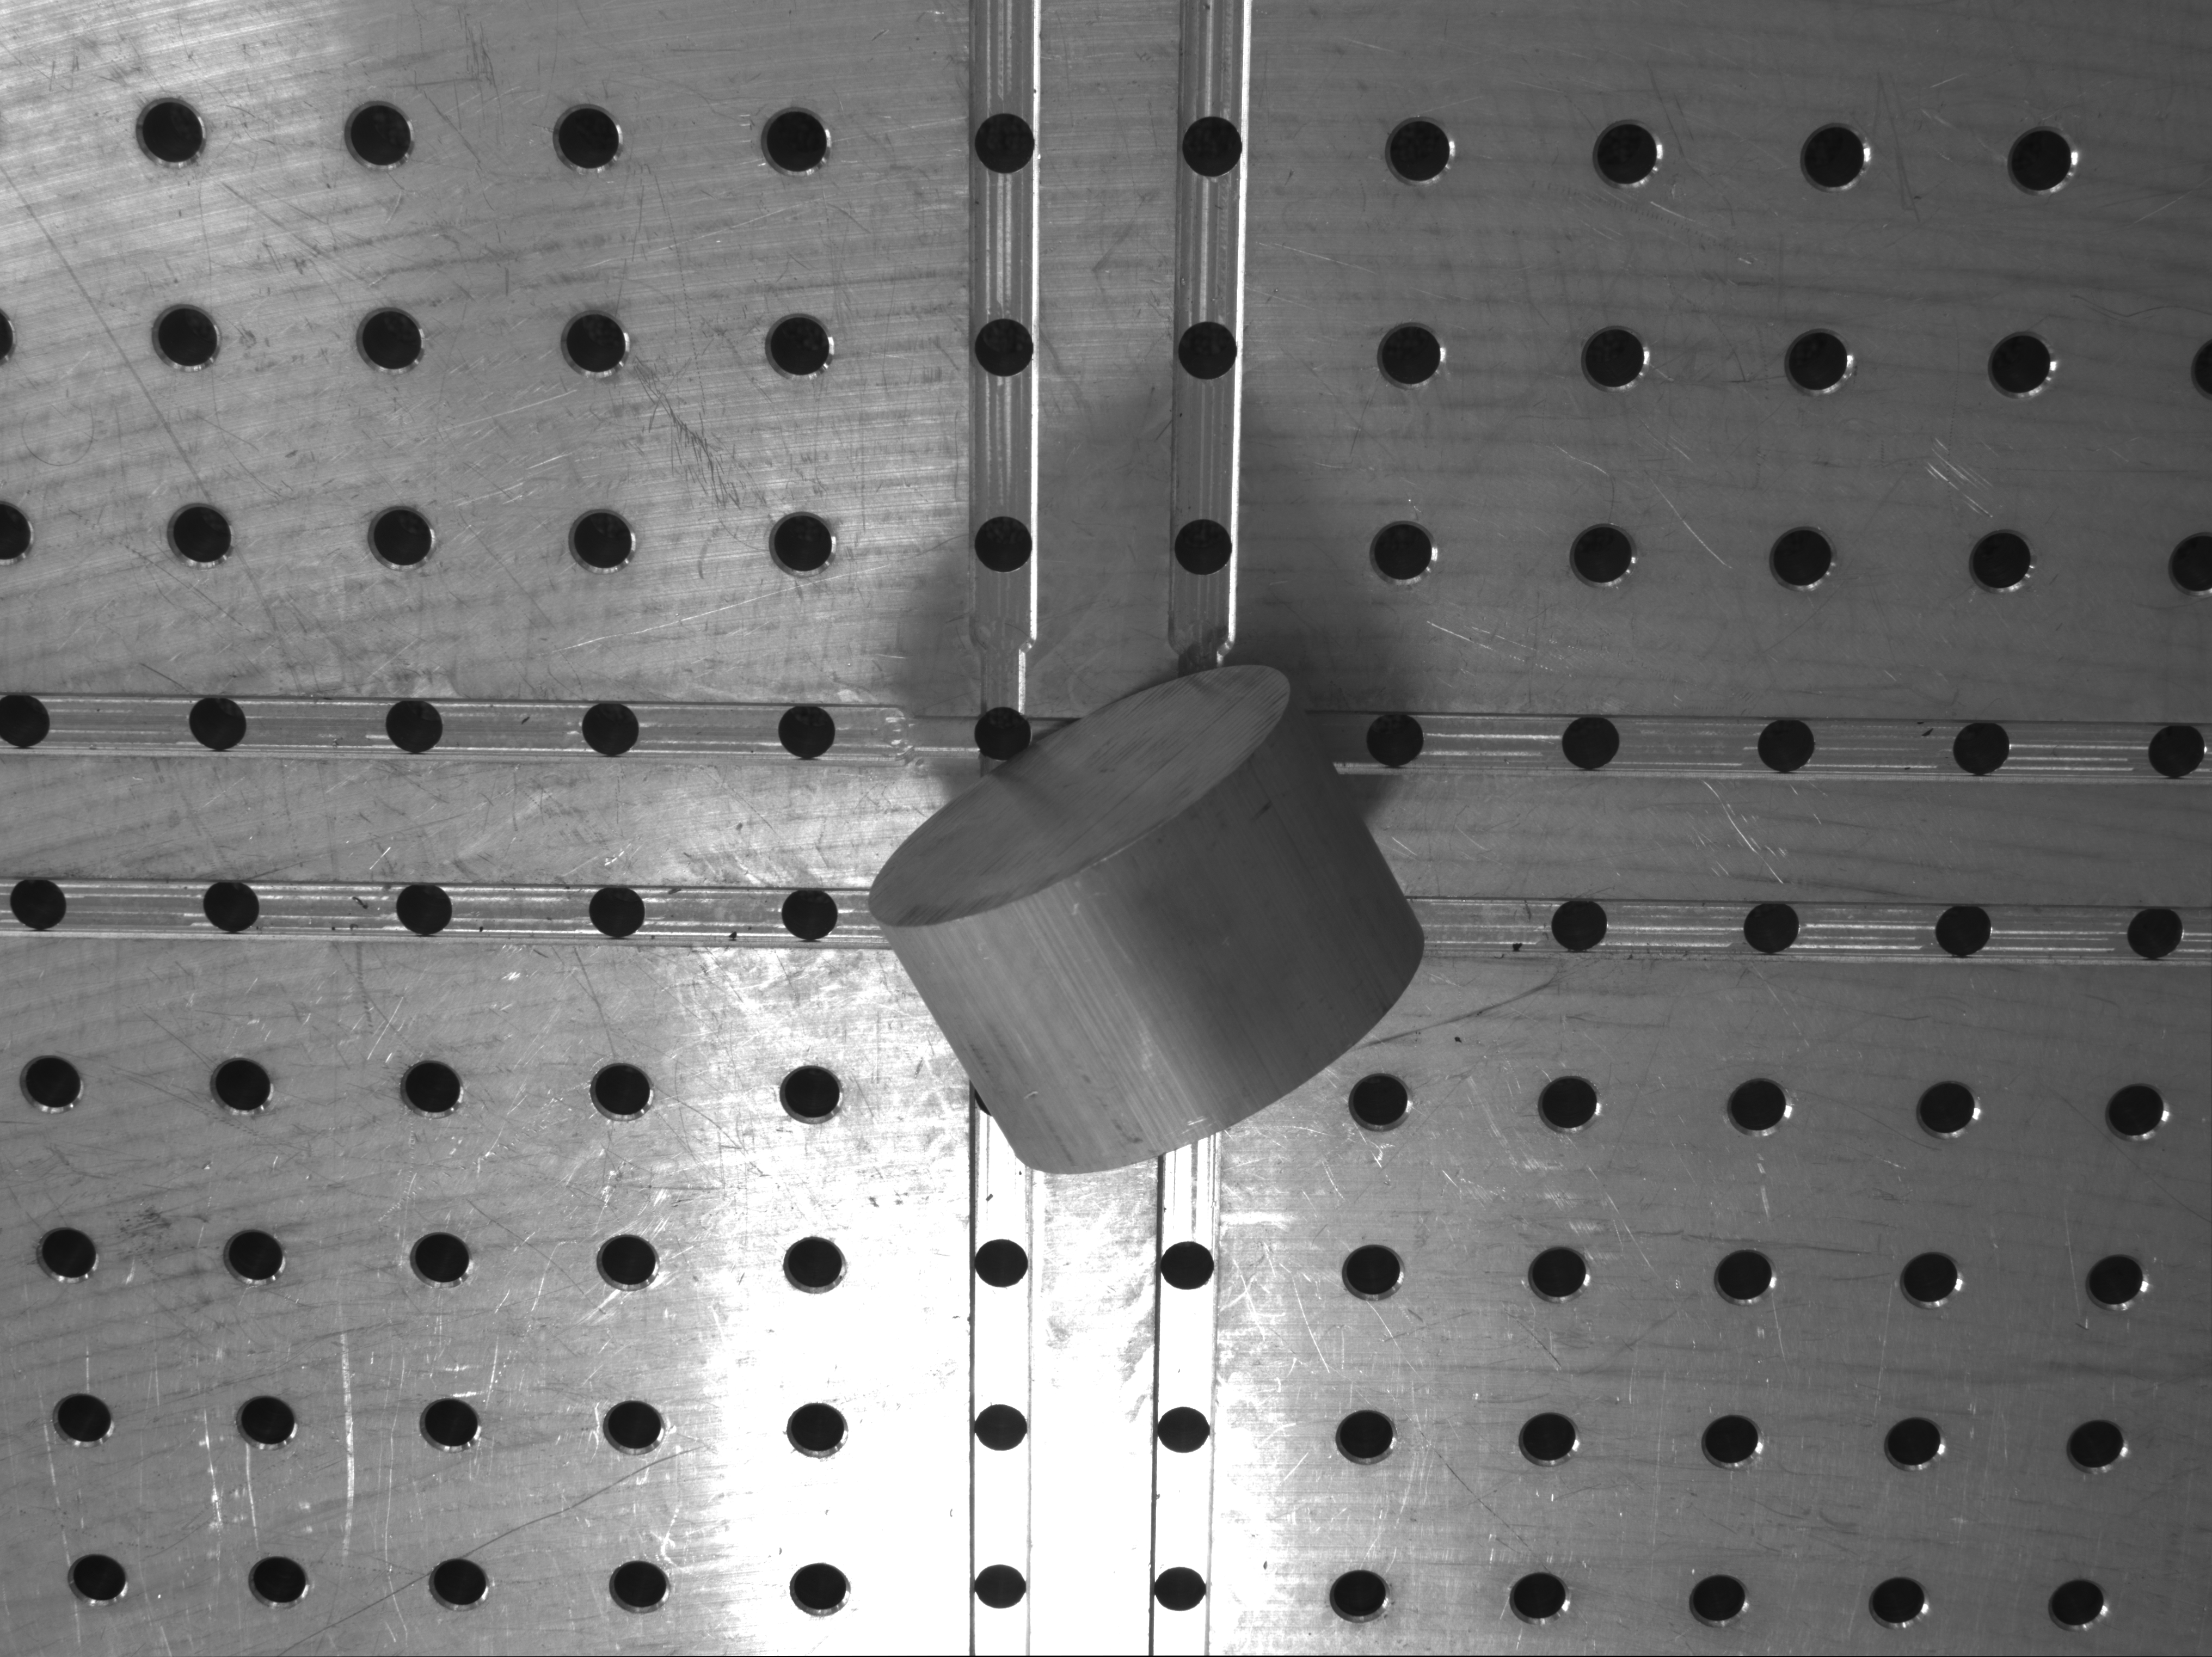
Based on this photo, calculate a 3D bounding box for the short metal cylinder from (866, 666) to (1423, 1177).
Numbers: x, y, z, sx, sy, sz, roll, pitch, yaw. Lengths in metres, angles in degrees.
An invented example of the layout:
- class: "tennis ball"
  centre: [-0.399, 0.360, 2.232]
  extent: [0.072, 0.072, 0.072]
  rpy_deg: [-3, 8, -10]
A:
- class: "short metal cylinder"
  centre: [0.007, 0.015, 0.622]
  extent: [0.080, 0.080, 0.050]
  rpy_deg: [-27, 107, 9]
